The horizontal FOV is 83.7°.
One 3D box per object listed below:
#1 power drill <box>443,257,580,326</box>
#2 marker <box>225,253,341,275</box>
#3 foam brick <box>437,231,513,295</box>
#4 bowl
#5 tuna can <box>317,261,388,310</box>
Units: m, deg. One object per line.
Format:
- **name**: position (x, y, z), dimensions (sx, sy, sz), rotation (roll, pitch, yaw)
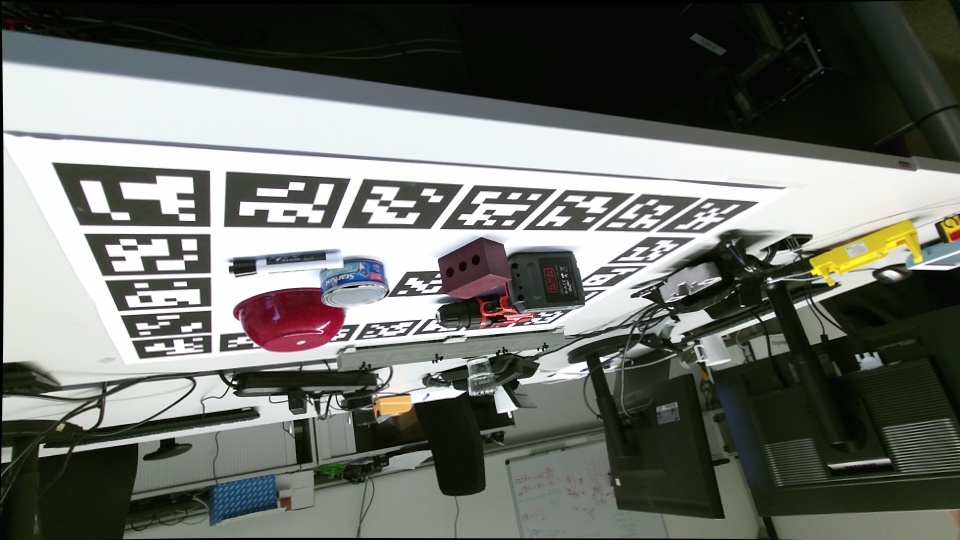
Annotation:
- **power drill**: position (0.054, 0.040, 0.833), dimensions (0.185, 0.057, 0.187), rotation (1, 157, -24)
- **marker**: position (-0.218, -0.005, 0.598), dimensions (0.121, 0.019, 0.019), rotation (-6, 156, -17)
- **foam brick**: position (-0.006, -0.008, 0.691), dimensions (0.078, 0.052, 0.051), rotation (-30, 152, 34)
- **bowl**: position (-0.257, 0.076, 0.761), dimensions (0.162, 0.055, 0.162), rotation (-12, 166, -3)
- **tuna can**: position (-0.161, 0.020, 0.677), dimensions (0.086, 0.033, 0.086), rotation (-9, 158, -4)
